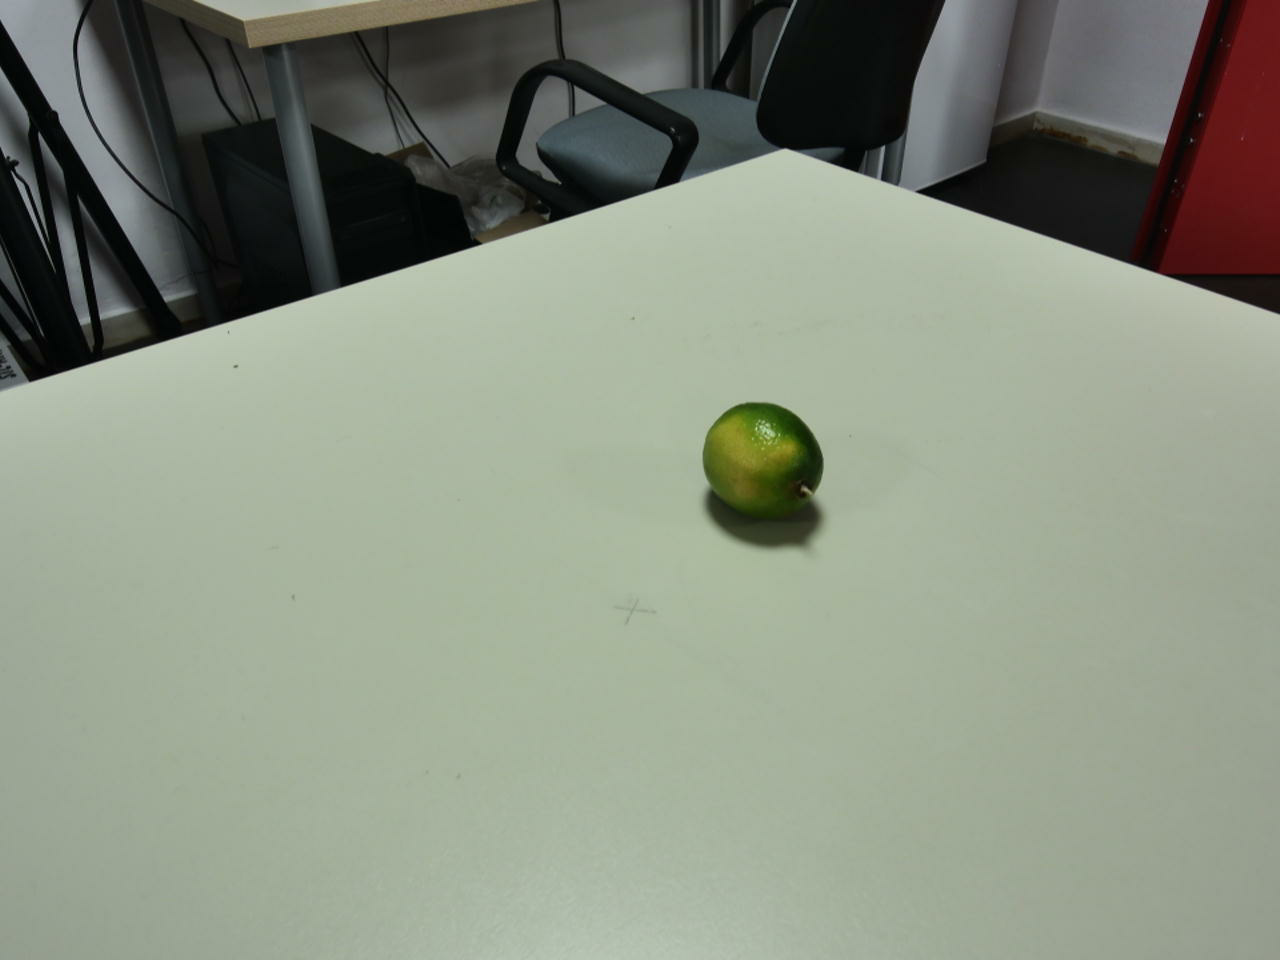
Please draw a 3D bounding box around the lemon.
[{"bbox_3d":[0.055,-0.009,0.453,0.054,0.050,0.055,7,35,10],"label":"lemon"}]
